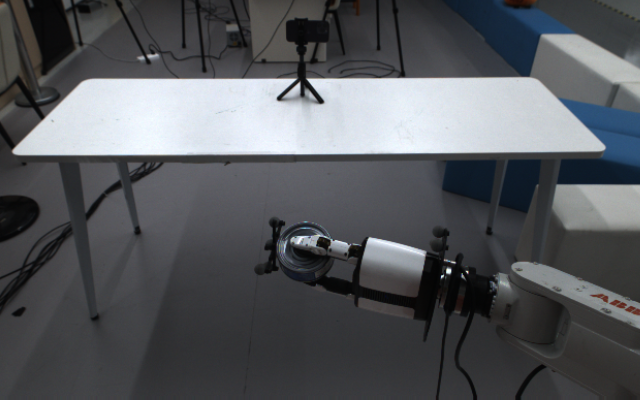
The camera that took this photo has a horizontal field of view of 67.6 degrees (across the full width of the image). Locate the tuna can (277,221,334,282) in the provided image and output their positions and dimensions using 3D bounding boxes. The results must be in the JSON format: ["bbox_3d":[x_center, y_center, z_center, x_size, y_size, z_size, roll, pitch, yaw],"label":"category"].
[{"bbox_3d":[-0.019,0.075,0.715,0.085,0.034,0.085,-2,57,3],"label":"tuna can"}]
